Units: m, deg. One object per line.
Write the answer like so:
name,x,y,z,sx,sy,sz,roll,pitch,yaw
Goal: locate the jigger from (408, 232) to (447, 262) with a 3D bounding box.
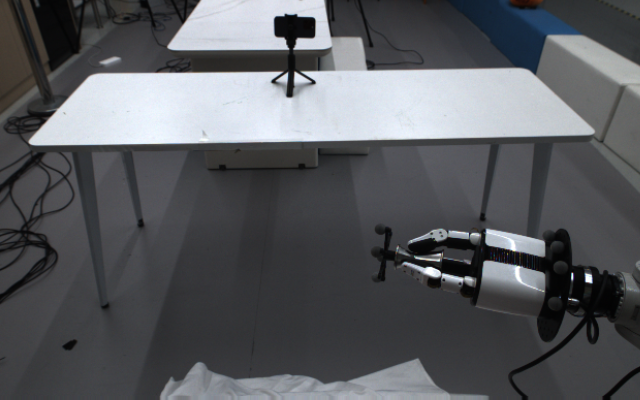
jigger,0.154,0.087,0.723,0.071,0.043,0.043,8,35,15
